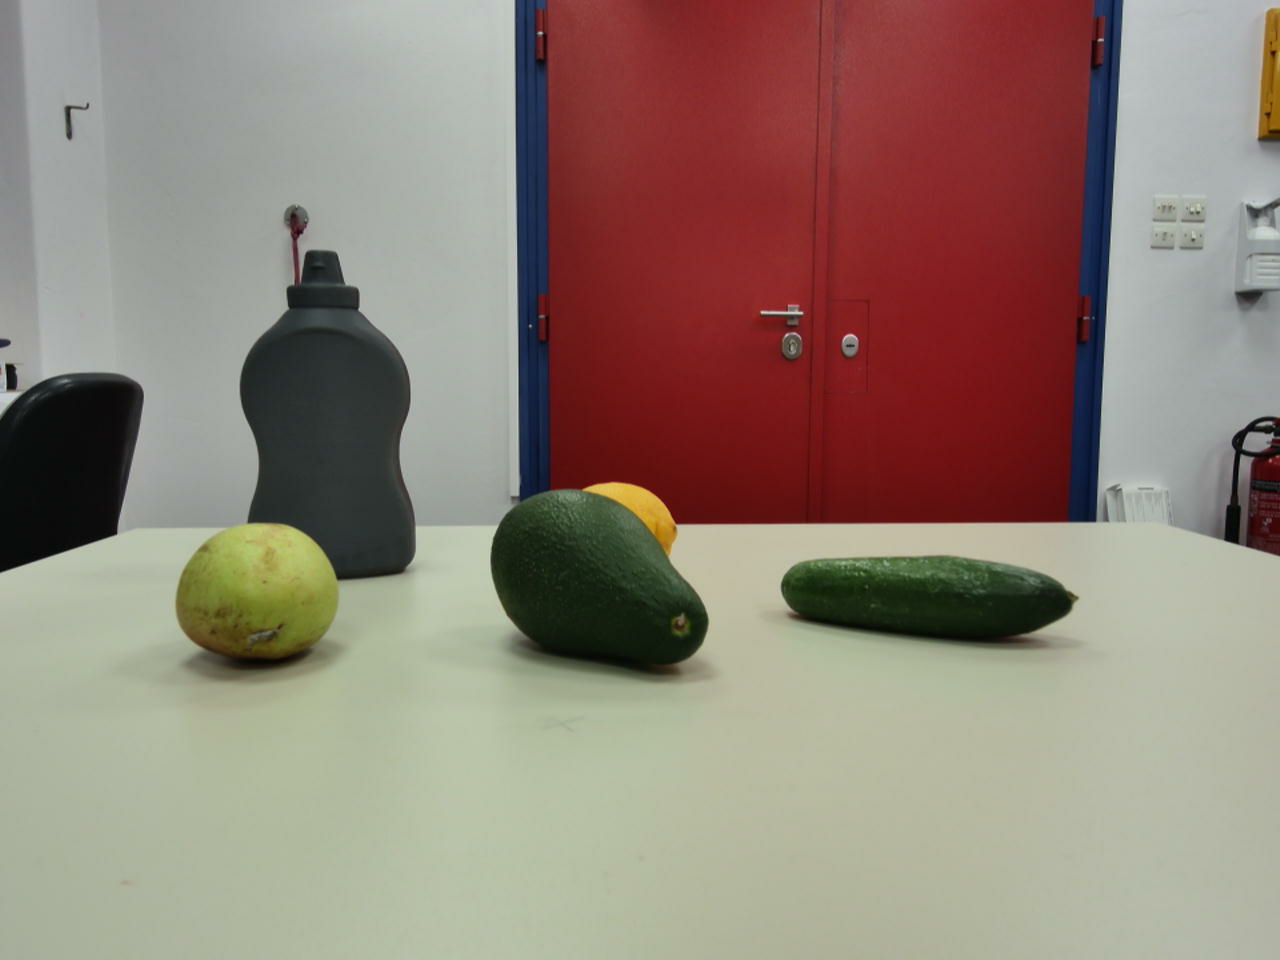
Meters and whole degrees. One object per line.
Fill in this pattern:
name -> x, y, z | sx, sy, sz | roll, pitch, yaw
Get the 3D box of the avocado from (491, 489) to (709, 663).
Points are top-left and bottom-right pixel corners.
avocado -> -0.022, 0.040, 0.429 | 0.072, 0.071, 0.110 | -1, 4, -23
